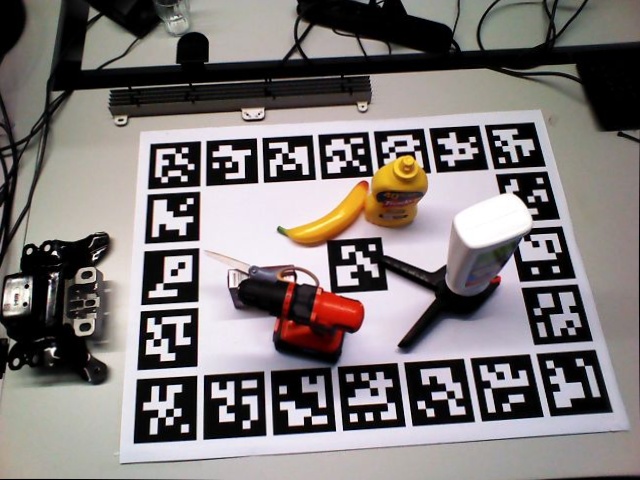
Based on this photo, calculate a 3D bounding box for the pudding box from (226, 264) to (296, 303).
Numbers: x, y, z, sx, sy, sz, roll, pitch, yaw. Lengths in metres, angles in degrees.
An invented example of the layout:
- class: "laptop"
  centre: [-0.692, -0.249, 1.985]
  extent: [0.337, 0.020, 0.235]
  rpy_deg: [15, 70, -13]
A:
- class: "pudding box"
  centre: [-0.097, 0.075, 0.862]
  extent: [0.114, 0.090, 0.038]
  rpy_deg: [1, 61, -1]

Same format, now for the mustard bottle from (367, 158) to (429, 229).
- class: "mustard bottle"
  centre: [0.138, -0.081, 0.878]
  extent: [0.096, 0.192, 0.058]
  rpy_deg: [10, 67, 2]

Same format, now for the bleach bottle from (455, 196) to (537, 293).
- class: "bleach bottle"
  centre: [0.255, 0.024, 0.785]
  extent: [0.103, 0.251, 0.068]
  rpy_deg: [-23, 66, -2]

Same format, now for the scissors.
- class: "scissors"
  centre: [-0.105, 0.044, 0.804]
  extent: [0.203, 0.016, 0.087]
  rpy_deg: [22, 73, 3]

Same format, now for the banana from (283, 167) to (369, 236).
- class: "banana"
  centre: [0.028, -0.064, 0.941]
  extent: [0.196, 0.039, 0.074]
  rpy_deg: [-41, 57, -15]

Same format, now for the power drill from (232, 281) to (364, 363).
- class: "power drill"
  centre: [-0.031, 0.120, 0.760]
  extent: [0.185, 0.188, 0.057]
  rpy_deg: [8, 61, 6]

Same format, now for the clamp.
- class: "clamp"
  centre: [0.220, 0.080, 0.875]
  extent: [0.203, 0.037, 0.165]
  rpy_deg: [-9, 70, -6]
